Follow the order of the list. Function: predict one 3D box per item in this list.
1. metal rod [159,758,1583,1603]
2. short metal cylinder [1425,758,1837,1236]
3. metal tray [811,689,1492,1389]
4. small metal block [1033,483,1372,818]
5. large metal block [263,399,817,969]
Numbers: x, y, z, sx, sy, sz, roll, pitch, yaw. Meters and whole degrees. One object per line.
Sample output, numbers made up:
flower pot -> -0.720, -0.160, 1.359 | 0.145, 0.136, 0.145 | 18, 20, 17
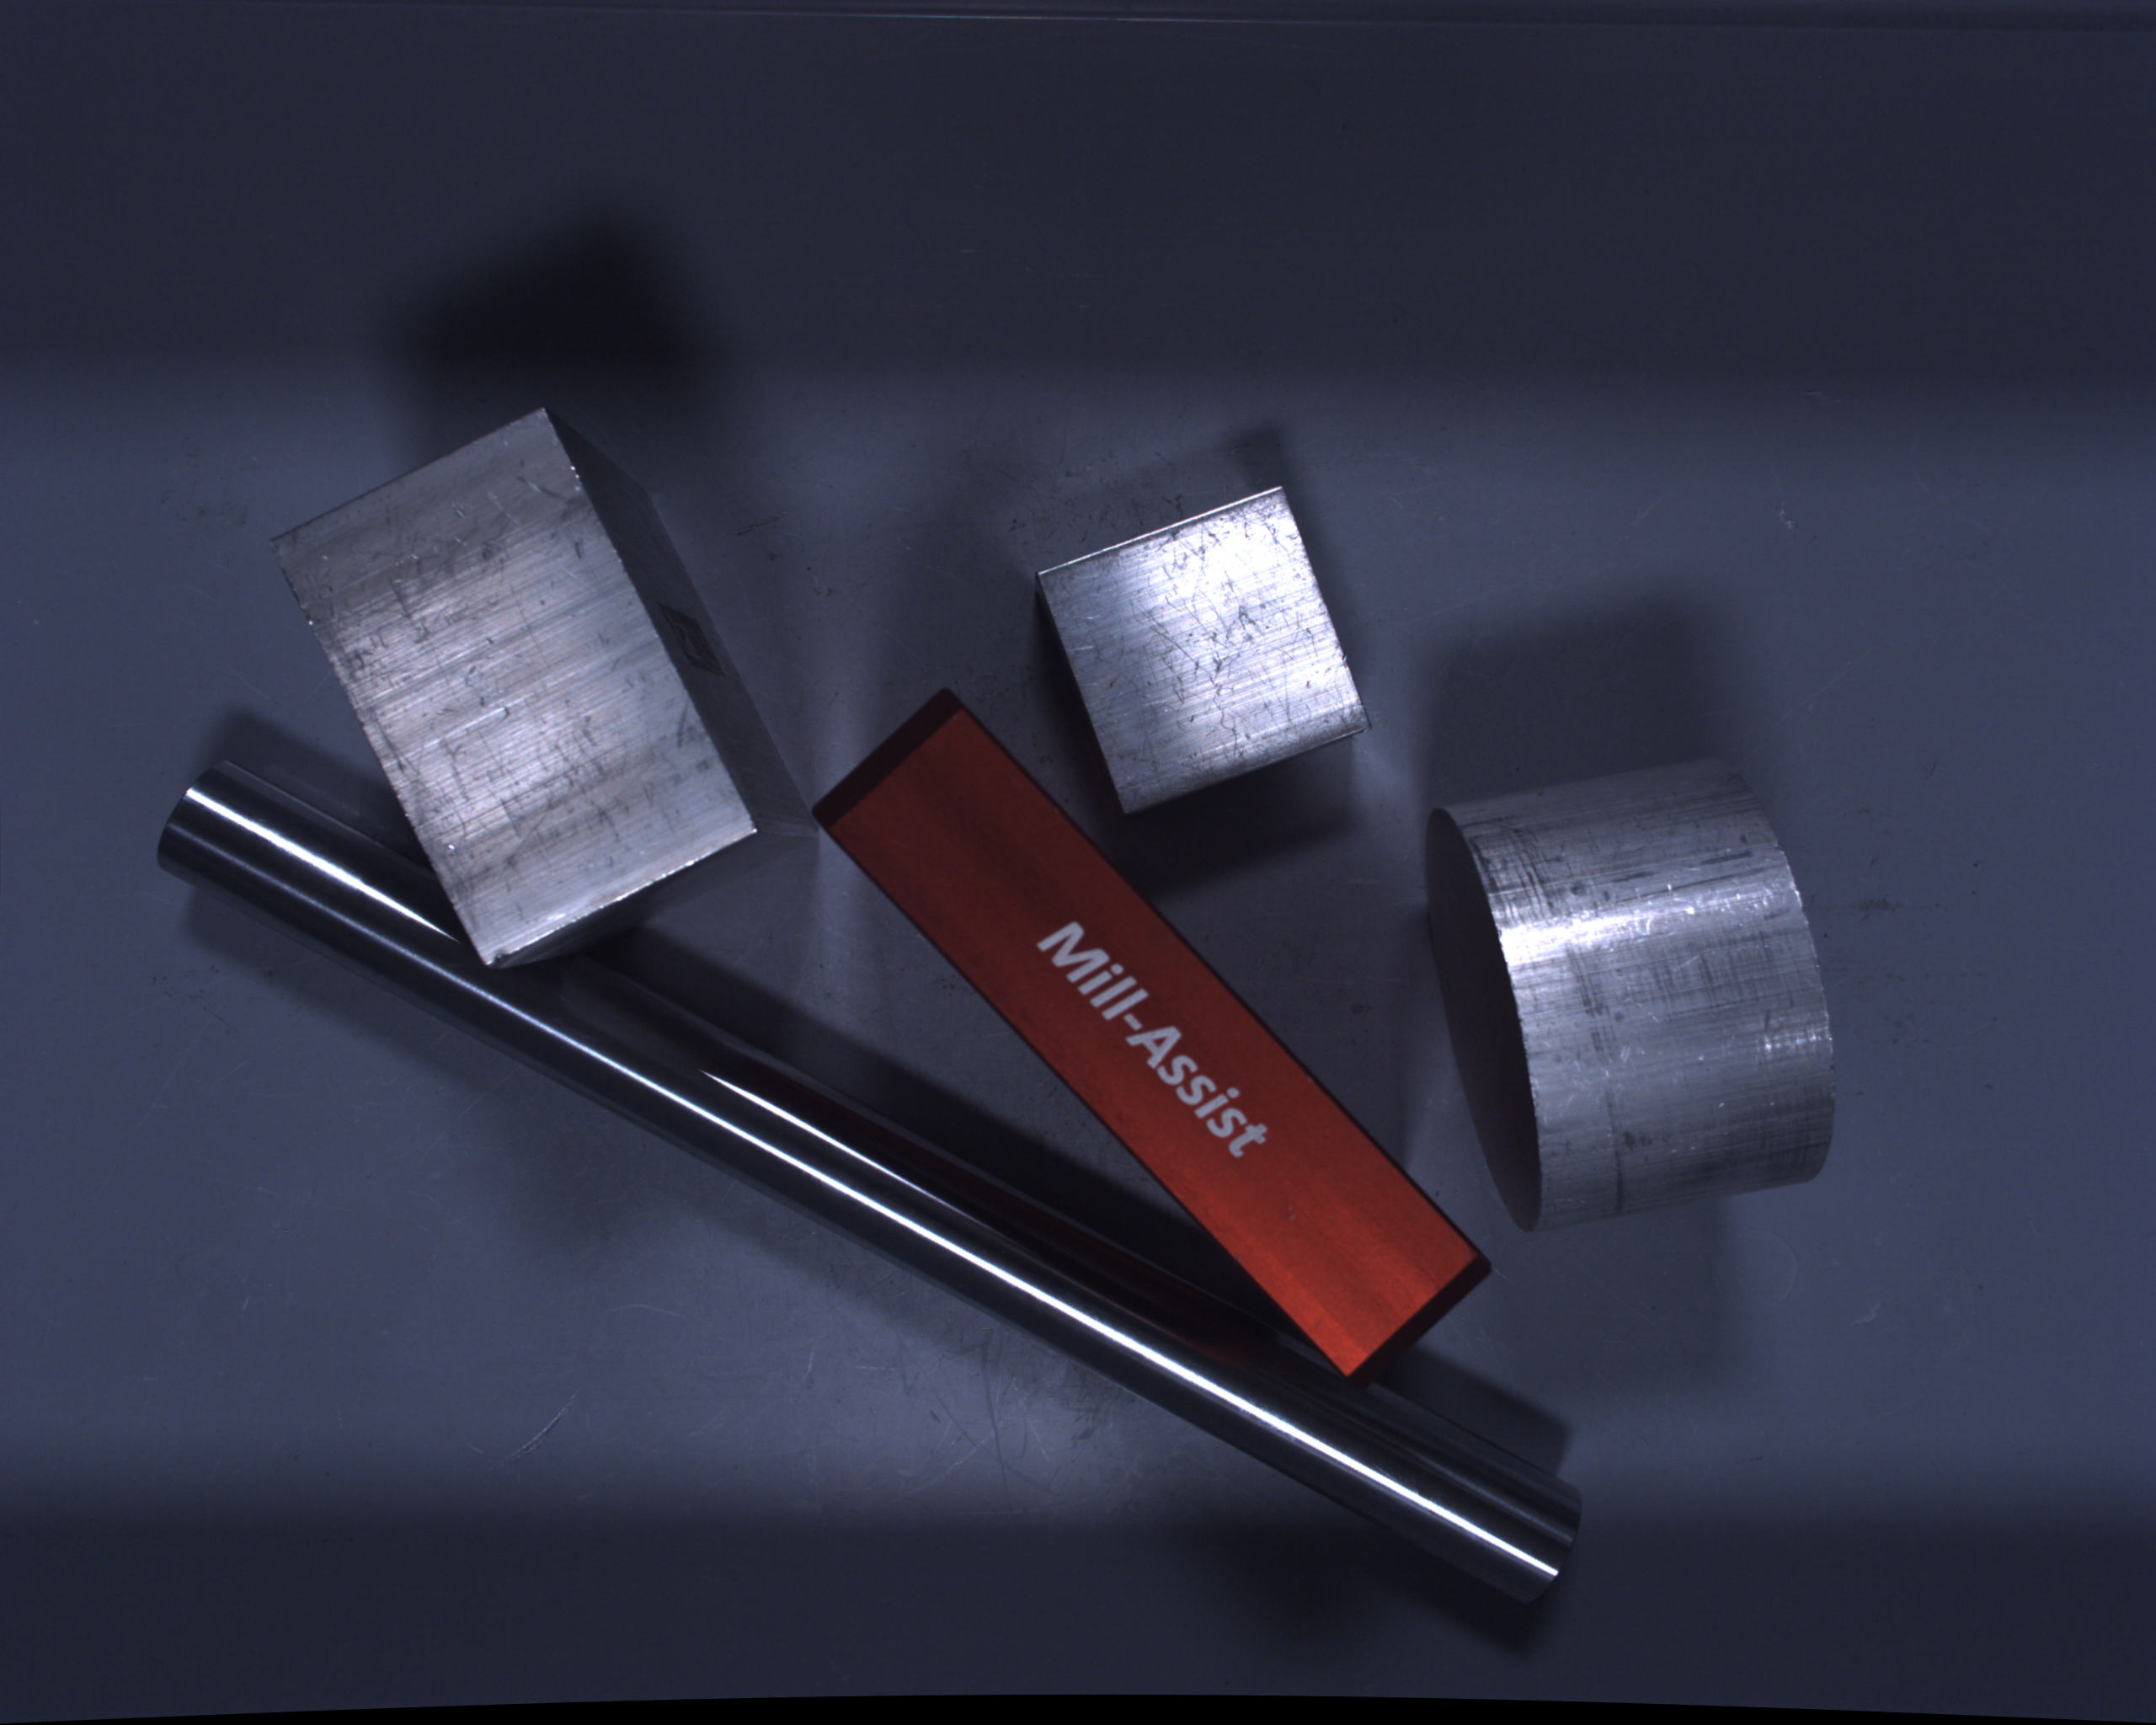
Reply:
metal rod -> -0.039, 0.062, 0.410 | 0.301, 0.025, 0.025 | 29, 90, -1
short metal cylinder -> 0.099, 0.024, 0.384 | 0.050, 0.080, 0.080 | -12, 90, 1
metal tray -> 0.012, 0.029, 0.377 | 0.030, 0.090, 0.130 | -44, 91, 0
small metal block -> 0.024, -0.040, 0.409 | 0.050, 0.025, 0.050 | -20, 90, -1
large metal block -> -0.093, -0.029, 0.381 | 0.050, 0.080, 0.080 | -26, 90, 0
